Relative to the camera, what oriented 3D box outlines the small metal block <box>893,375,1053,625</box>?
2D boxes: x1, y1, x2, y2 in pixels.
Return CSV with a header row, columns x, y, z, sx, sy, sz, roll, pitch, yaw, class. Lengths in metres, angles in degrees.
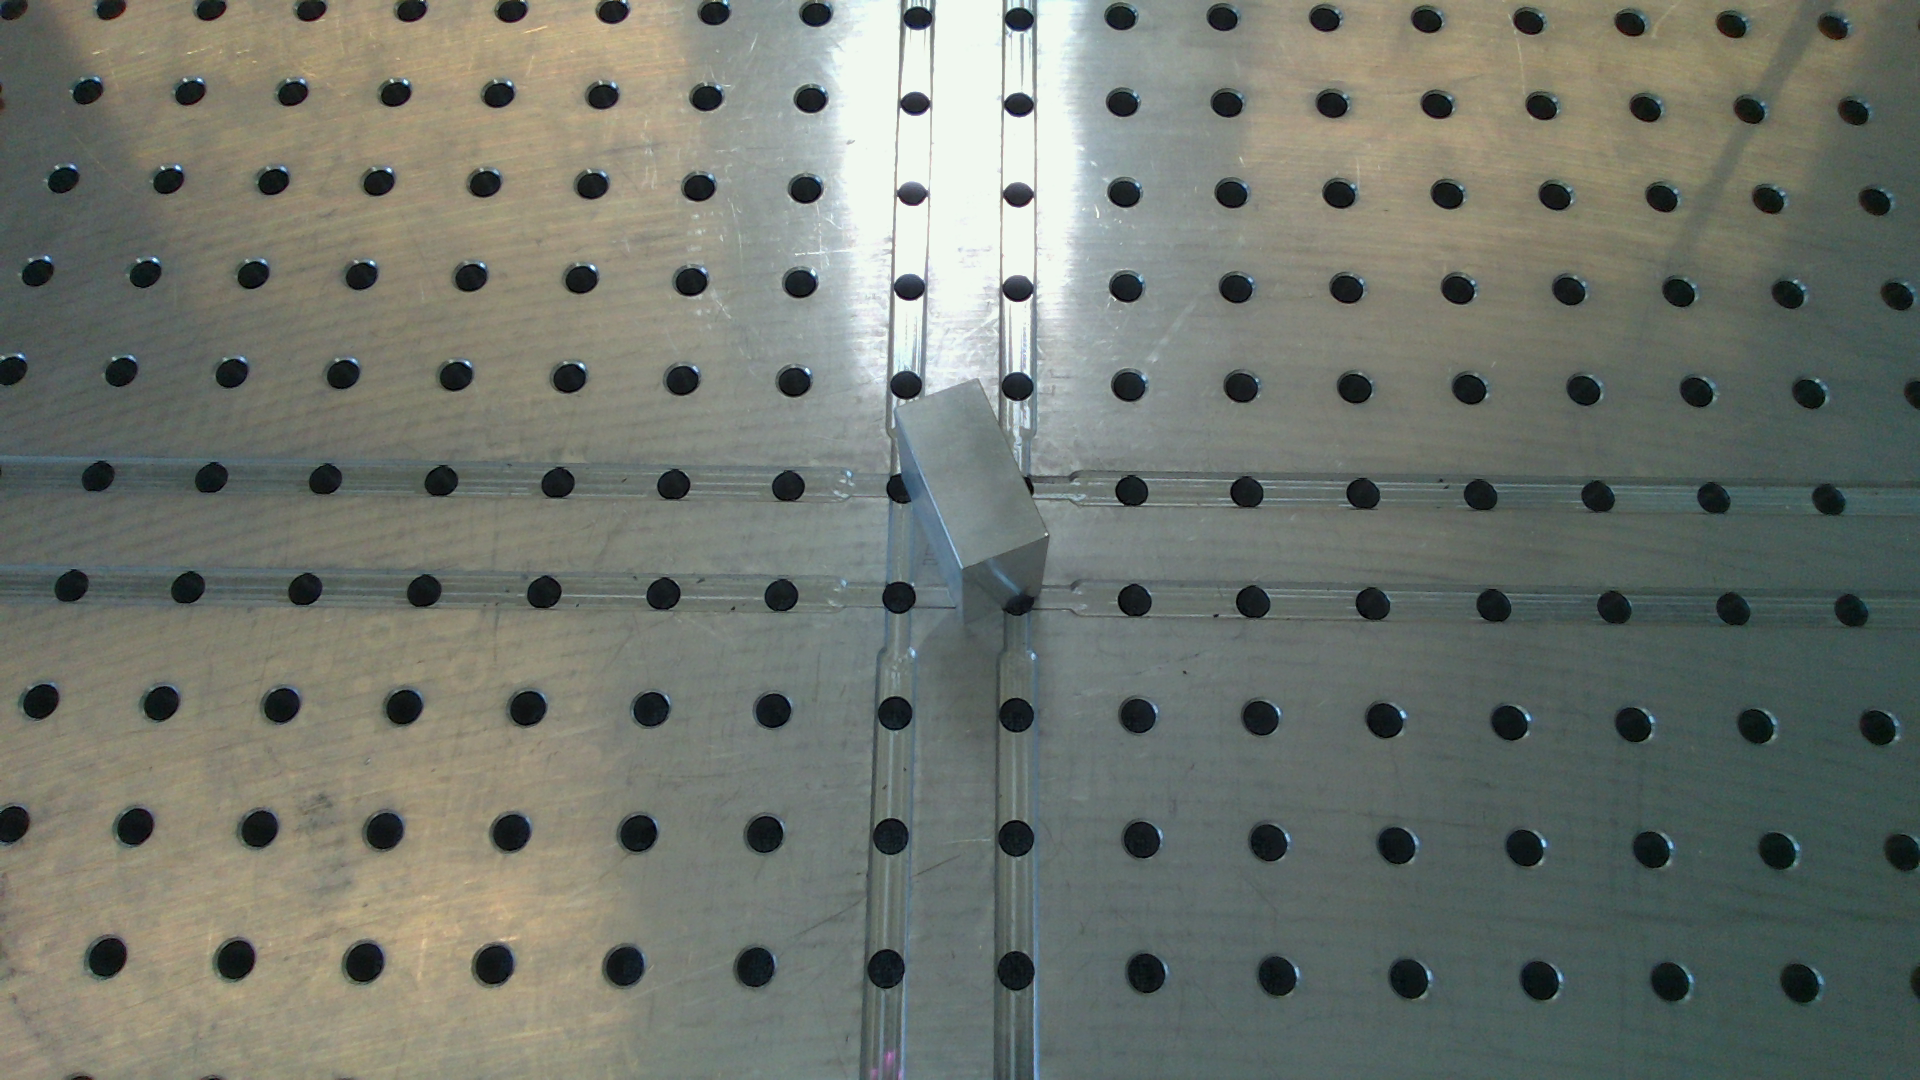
x,y,z,sx,sy,sz,roll,pitch,yaw,class
0.003,-0.010,0.387,0.025,0.050,0.050,-21,72,-7,small metal block
